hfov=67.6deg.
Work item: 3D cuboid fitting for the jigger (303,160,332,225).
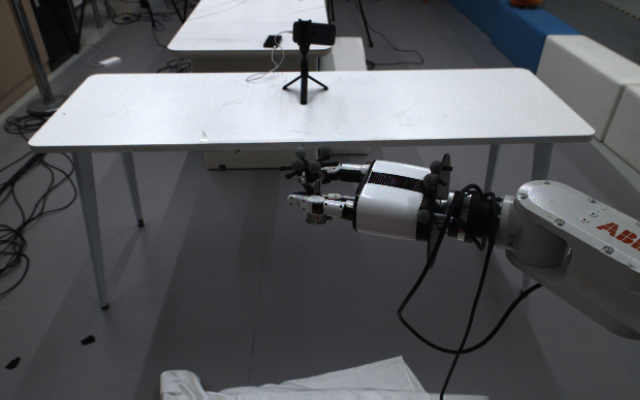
[{"bbox_3d":[-0.005,-0.005,0.721,0.043,0.071,0.043,-10,23,5],"label":"jigger"}]
